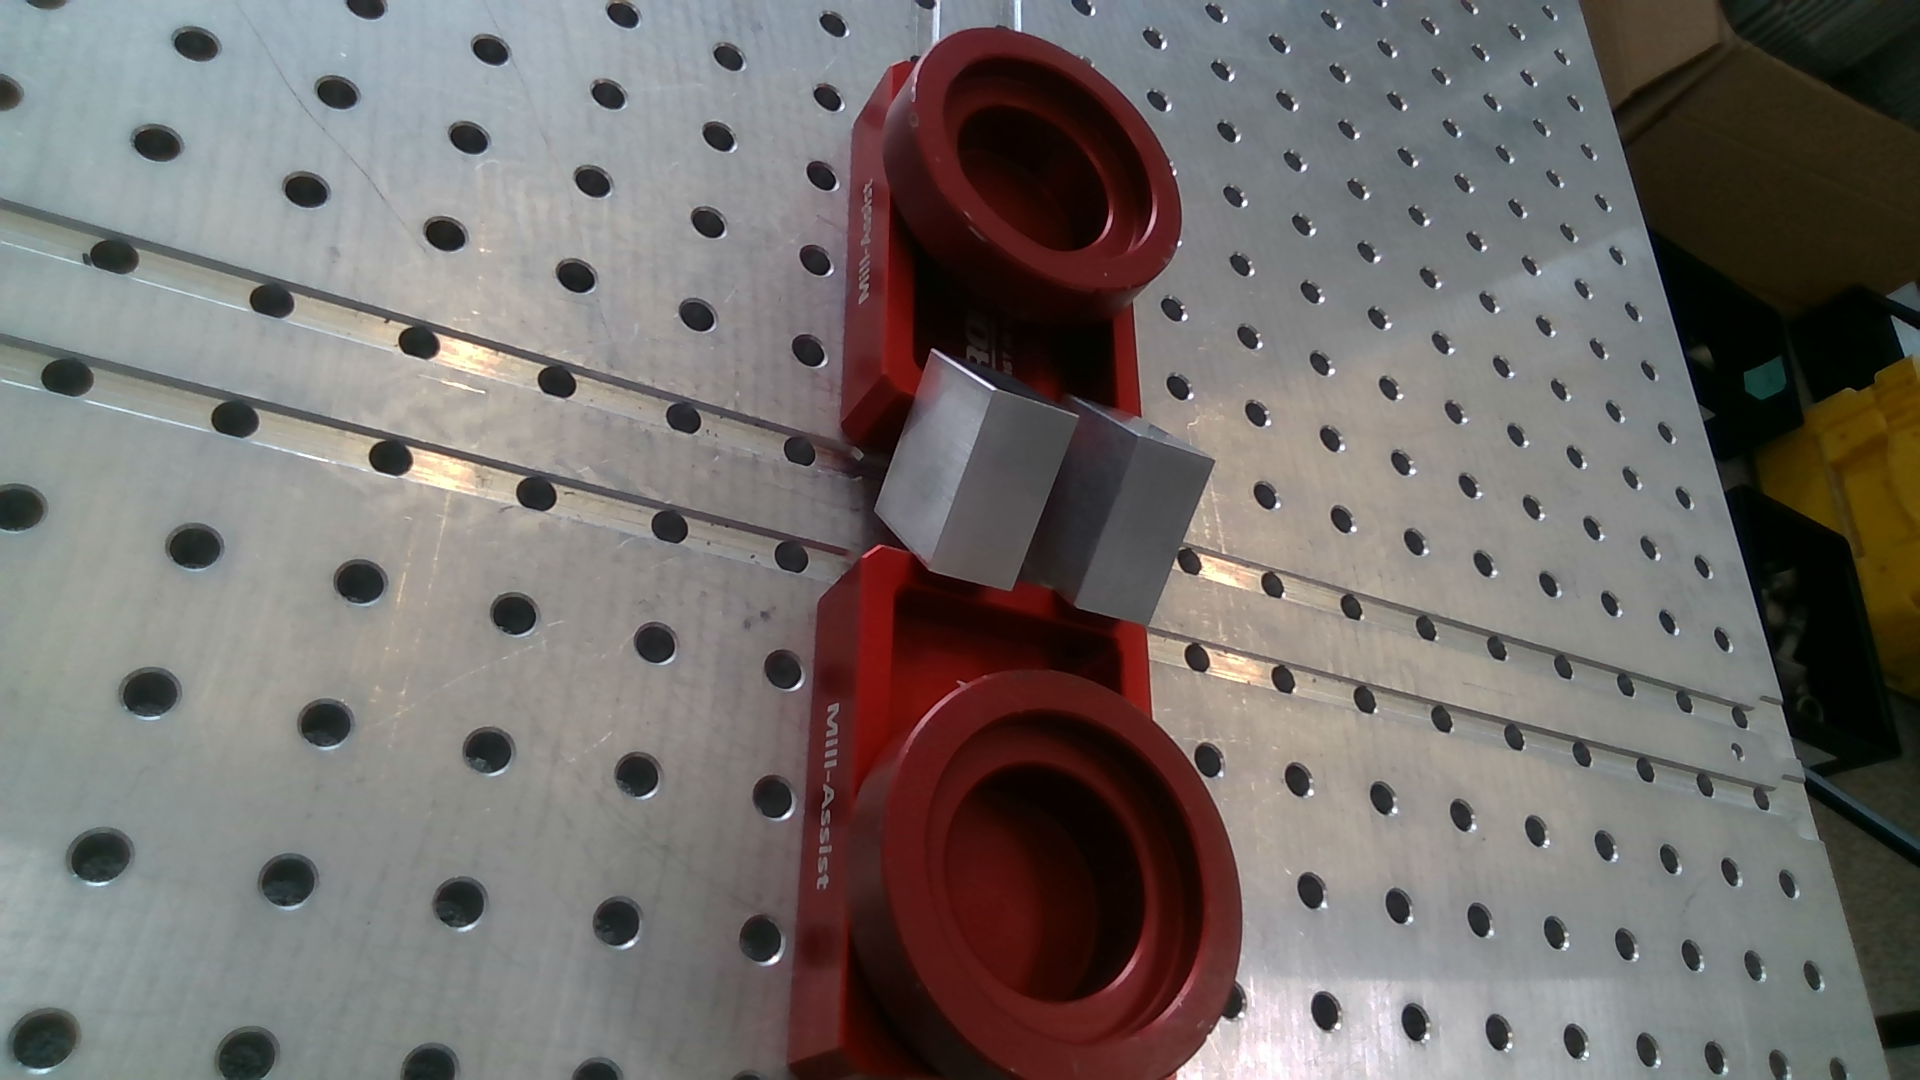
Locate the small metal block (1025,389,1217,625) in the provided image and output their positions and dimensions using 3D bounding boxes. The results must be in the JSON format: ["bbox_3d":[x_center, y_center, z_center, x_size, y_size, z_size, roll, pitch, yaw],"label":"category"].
[{"bbox_3d":[0.041,-0.010,0.393,0.025,0.050,0.050,15,14,-24],"label":"small metal block"}]

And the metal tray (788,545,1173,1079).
[{"bbox_3d":[0.007,0.074,0.358,0.090,0.030,0.130,15,59,-24],"label":"metal tray"}]

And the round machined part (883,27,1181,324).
[{"bbox_3d":[0.019,-0.110,0.440,0.098,0.042,0.098,14,59,-25],"label":"round machined part"}]

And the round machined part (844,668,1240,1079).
[{"bbox_3d":[0.016,0.084,0.334,0.098,0.042,0.098,14,59,-25],"label":"round machined part"}]

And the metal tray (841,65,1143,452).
[{"bbox_3d":[0.010,-0.084,0.446,0.090,0.030,0.130,12,59,-23],"label":"metal tray"}]

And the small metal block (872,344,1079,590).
[{"bbox_3d":[0.002,-0.021,0.374,0.025,0.050,0.050,15,14,-24],"label":"small metal block"}]
